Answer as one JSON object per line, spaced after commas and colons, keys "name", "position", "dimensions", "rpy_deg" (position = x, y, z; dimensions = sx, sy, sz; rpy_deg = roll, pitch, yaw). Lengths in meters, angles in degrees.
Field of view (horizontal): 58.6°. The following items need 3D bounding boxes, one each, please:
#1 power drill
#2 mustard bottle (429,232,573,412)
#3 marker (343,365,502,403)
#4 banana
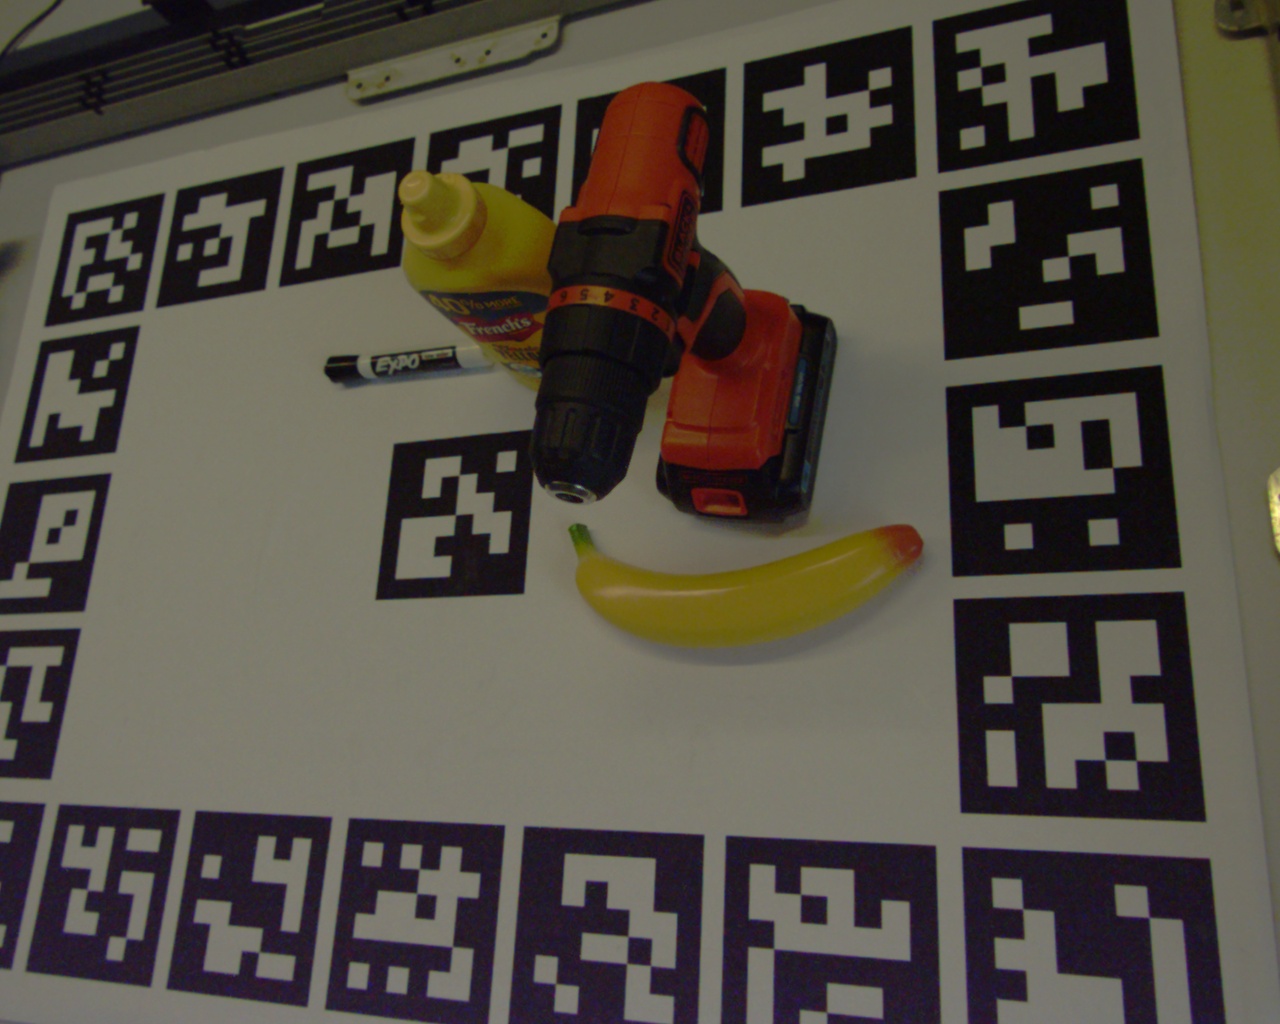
{"name": "power drill", "position": [0.025, -0.057, 0.583], "dimensions": [0.058, 0.185, 0.184], "rpy_deg": [11, 77, 23]}
{"name": "mustard bottle", "position": [-0.065, -0.108, 0.655], "dimensions": [0.097, 0.189, 0.058], "rpy_deg": [8, 78, 23]}
{"name": "marker", "position": [-0.152, -0.088, 0.782], "dimensions": [0.122, 0.019, 0.020], "rpy_deg": [-2, 75, 23]}
{"name": "banana", "position": [0.047, 0.053, 0.648], "dimensions": [0.200, 0.038, 0.074], "rpy_deg": [4, 78, 26]}
